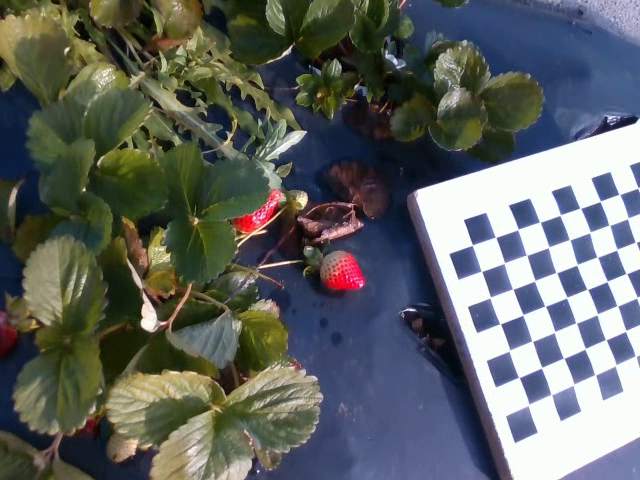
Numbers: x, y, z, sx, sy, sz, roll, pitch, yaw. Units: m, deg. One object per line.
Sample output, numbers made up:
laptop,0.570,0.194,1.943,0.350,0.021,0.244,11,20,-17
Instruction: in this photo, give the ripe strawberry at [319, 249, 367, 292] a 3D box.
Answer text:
ripe strawberry,0.019,0.027,0.511,0.043,0.035,0.029,35,-19,-3

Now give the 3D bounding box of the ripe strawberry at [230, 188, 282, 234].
ripe strawberry,-0.052,-0.028,0.499,0.049,0.039,0.032,-33,-2,22
